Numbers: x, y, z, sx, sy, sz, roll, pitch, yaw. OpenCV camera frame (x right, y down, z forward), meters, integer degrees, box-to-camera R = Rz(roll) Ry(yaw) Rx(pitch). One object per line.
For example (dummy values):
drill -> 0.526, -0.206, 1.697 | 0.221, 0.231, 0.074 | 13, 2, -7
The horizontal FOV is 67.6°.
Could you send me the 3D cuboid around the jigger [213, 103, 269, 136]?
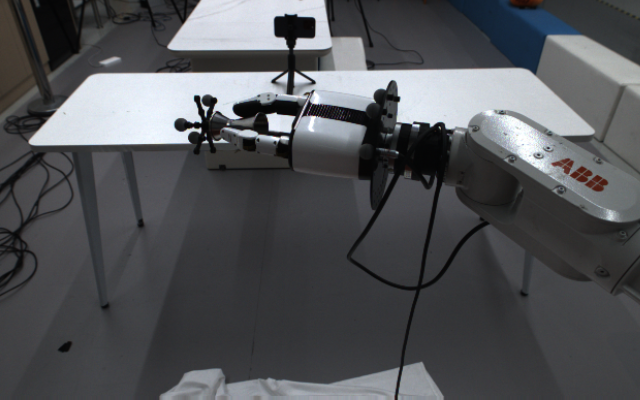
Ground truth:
jigger -> -0.104, -0.104, 0.648 | 0.071, 0.043, 0.043 | 5, 34, 19
